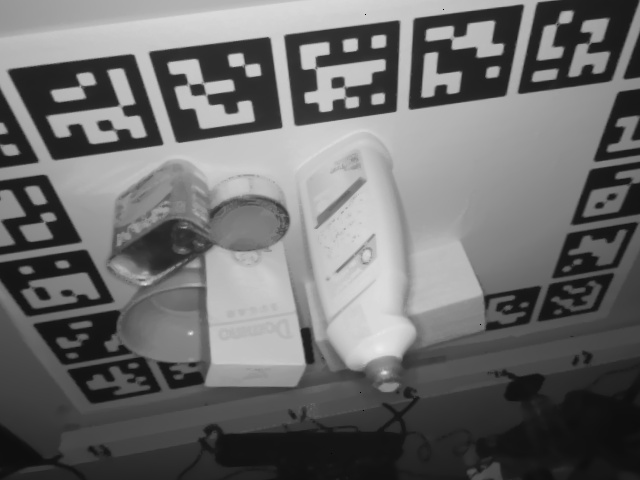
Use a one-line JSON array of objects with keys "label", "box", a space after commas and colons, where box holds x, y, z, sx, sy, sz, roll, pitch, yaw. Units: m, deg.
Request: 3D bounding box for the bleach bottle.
[{"label": "bleach bottle", "box": [0.051, 0.013, 0.637, 0.102, 0.252, 0.068, -27, 136, 14]}]

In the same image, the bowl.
[{"label": "bowl", "box": [-0.153, 0.089, 0.806, 0.163, 0.055, 0.160, -10, 137, -9]}]

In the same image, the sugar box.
[{"label": "sugar box", "box": [-0.069, 0.066, 0.710, 0.094, 0.177, 0.044, 5, 132, -22]}]

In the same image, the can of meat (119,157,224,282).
[{"label": "can of meat", "box": [-0.145, -0.021, 0.679, 0.101, 0.084, 0.058, -29, 137, 18]}]

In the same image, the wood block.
[{"label": "wood block", "box": [0.108, 0.092, 0.852, 0.206, 0.090, 0.090, -15, 132, 3]}]

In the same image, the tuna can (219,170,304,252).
[{"label": "tuna can", "box": [-0.061, -0.030, 0.717, 0.086, 0.034, 0.085, -7, 133, -7]}]
